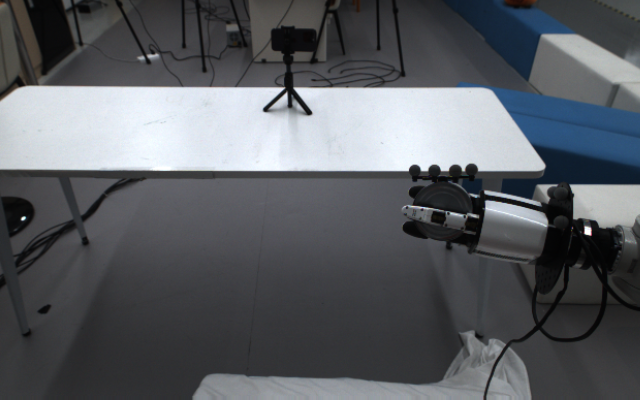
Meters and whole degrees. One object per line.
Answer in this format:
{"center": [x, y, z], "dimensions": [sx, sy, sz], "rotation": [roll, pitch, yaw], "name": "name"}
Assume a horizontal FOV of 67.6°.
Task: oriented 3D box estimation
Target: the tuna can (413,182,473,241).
{"center": [0.180, 0.014, 0.707], "dimensions": [0.085, 0.085, 0.034], "rotation": [15, 10, 18], "name": "tuna can"}
